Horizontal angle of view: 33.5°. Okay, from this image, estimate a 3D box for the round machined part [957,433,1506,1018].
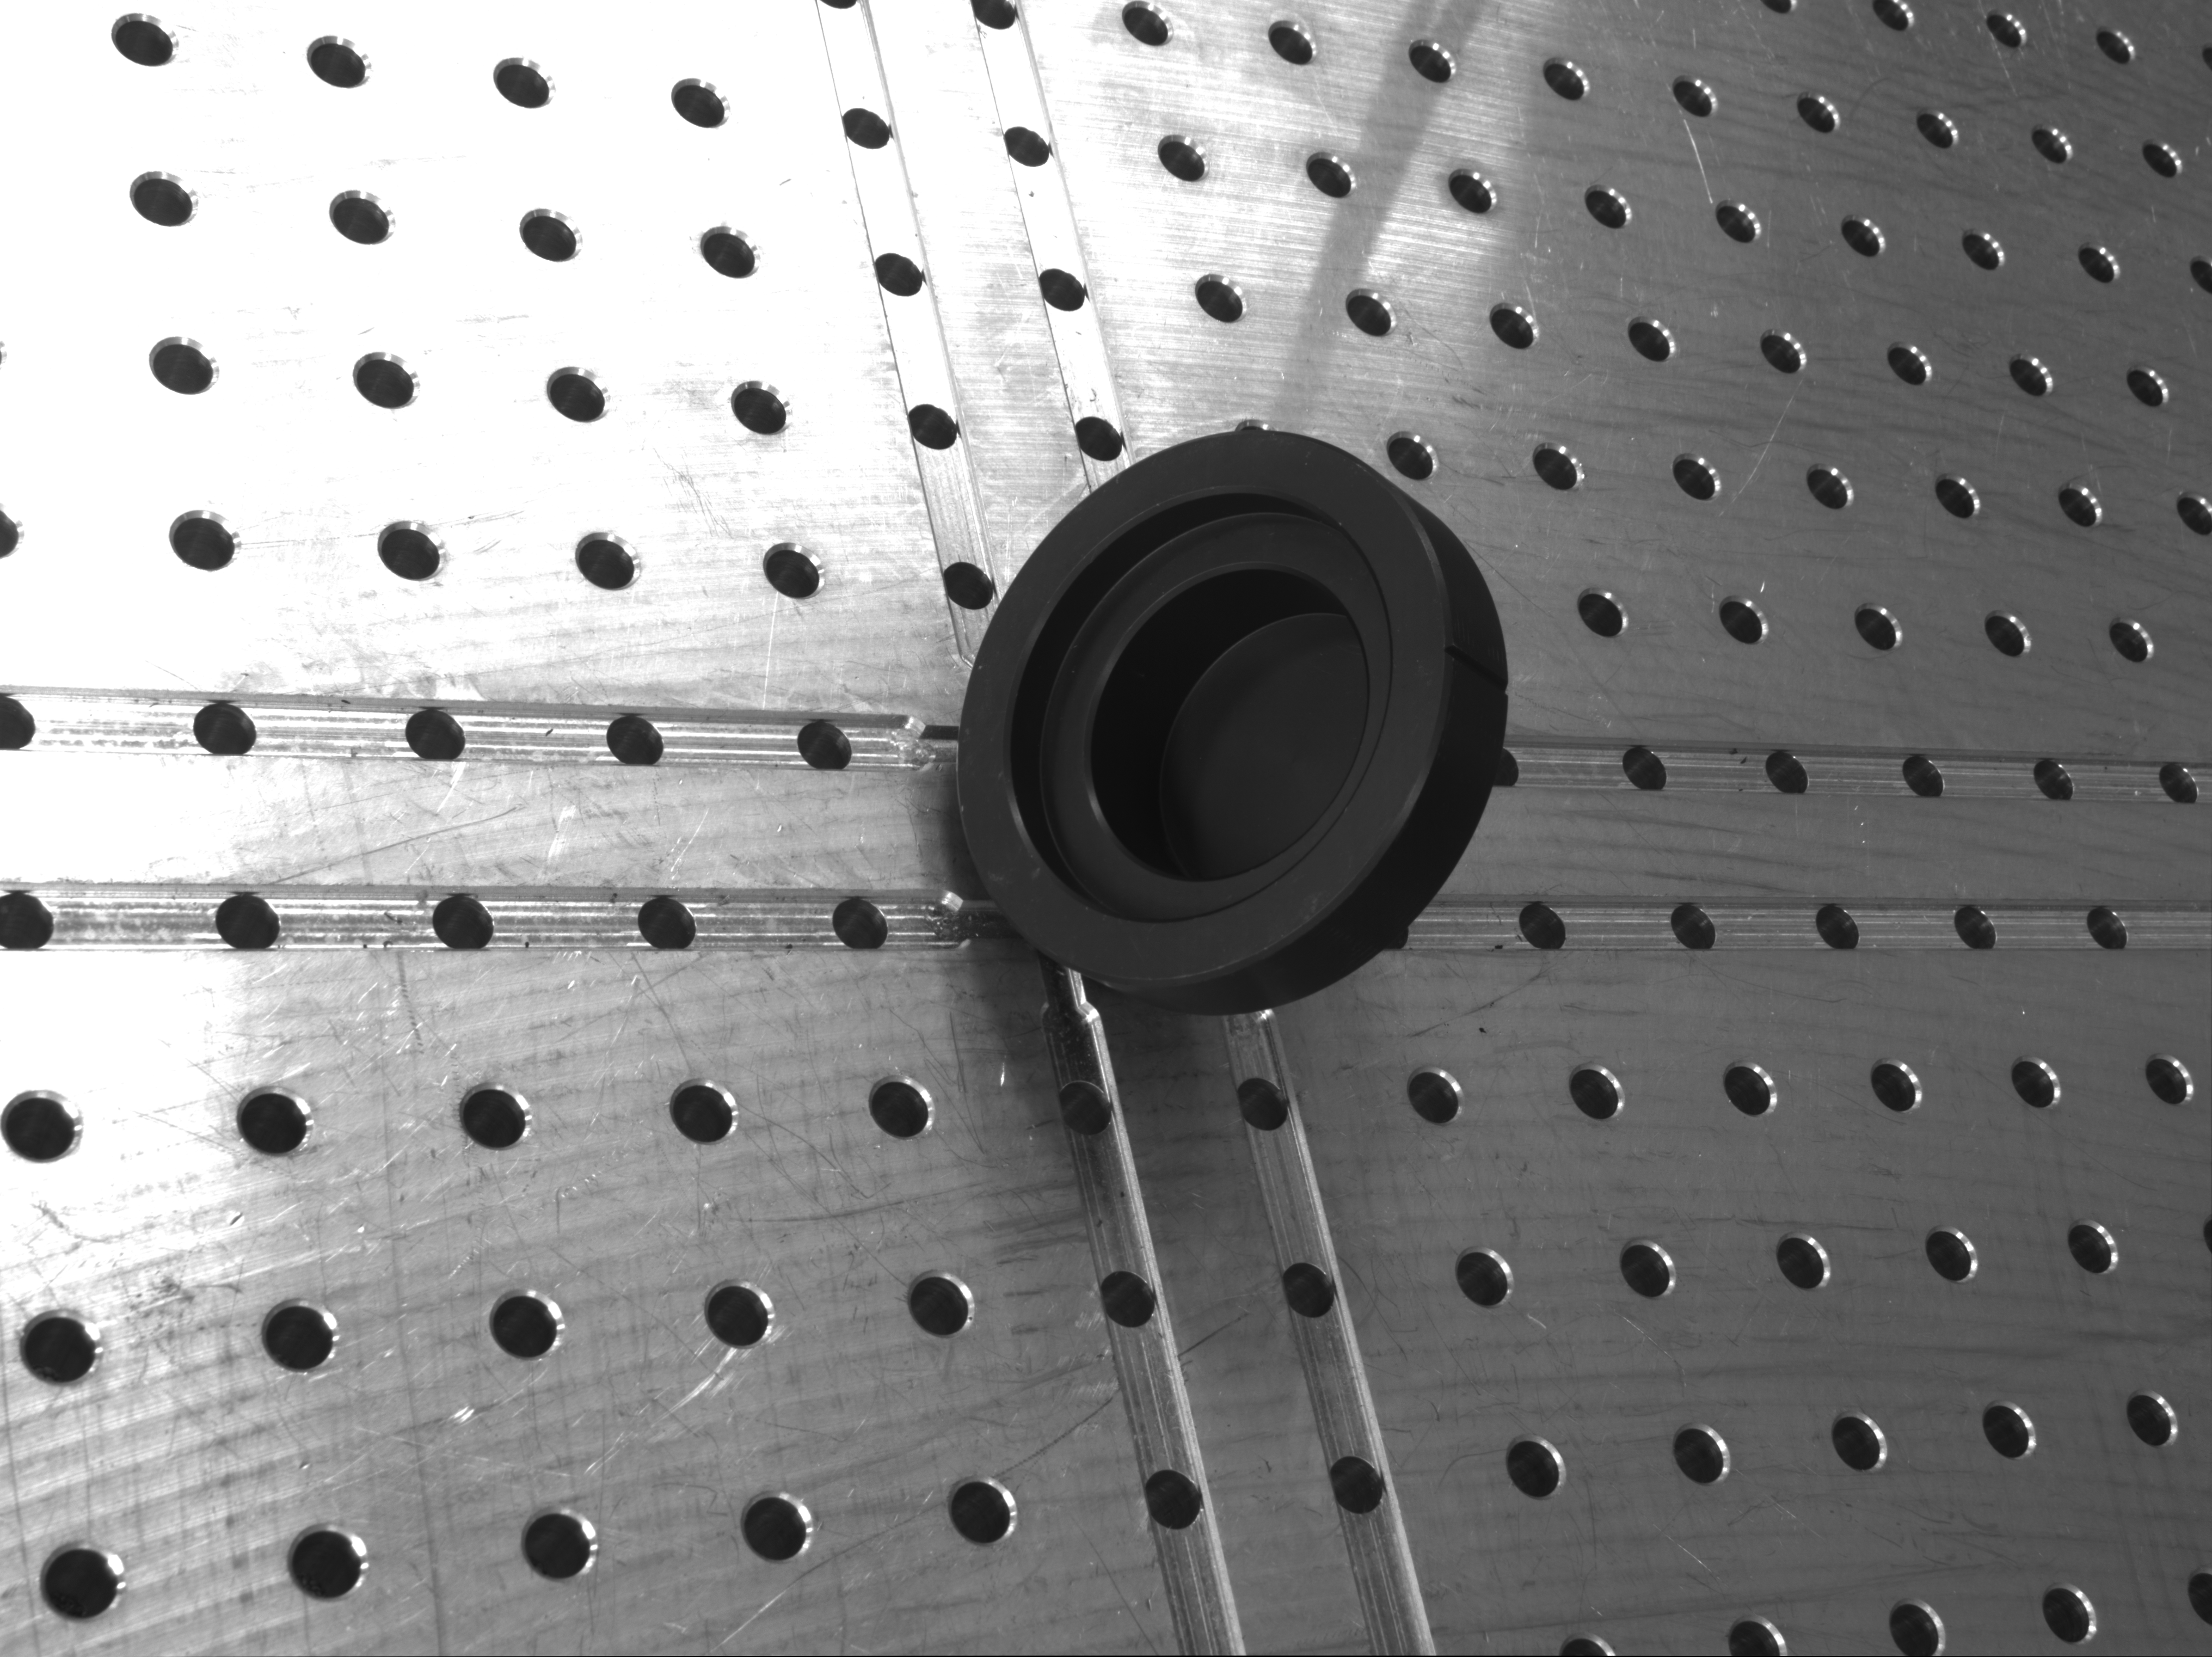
[{"bbox_3d":[0.026,-0.015,0.631,0.042,0.098,0.098,28,44,-51],"label":"round machined part"}]
